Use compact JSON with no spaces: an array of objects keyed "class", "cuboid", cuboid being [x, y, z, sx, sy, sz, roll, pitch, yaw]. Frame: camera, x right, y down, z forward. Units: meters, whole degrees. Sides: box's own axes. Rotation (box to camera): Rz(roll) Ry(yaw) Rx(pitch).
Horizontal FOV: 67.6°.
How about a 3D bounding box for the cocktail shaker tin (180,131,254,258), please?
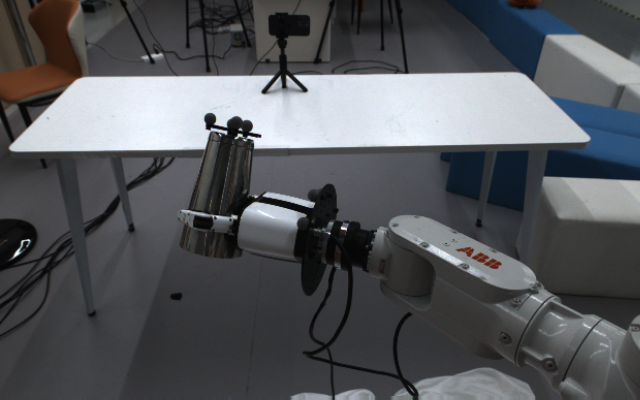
[{"class":"cocktail shaker tin","cuboid":[-0.145,-0.009,0.707,0.093,0.170,0.093,11,5,-1]}]
